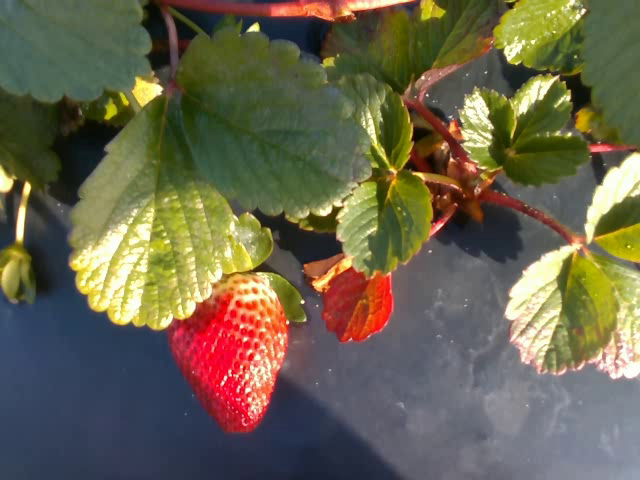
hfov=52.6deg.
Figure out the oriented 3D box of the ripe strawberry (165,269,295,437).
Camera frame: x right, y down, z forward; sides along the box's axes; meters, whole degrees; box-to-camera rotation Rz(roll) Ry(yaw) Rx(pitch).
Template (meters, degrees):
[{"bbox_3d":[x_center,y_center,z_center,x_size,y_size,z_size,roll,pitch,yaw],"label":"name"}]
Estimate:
[{"bbox_3d":[-0.029,0.036,0.195,0.040,0.056,0.040,-26,-26,31],"label":"ripe strawberry"}]
